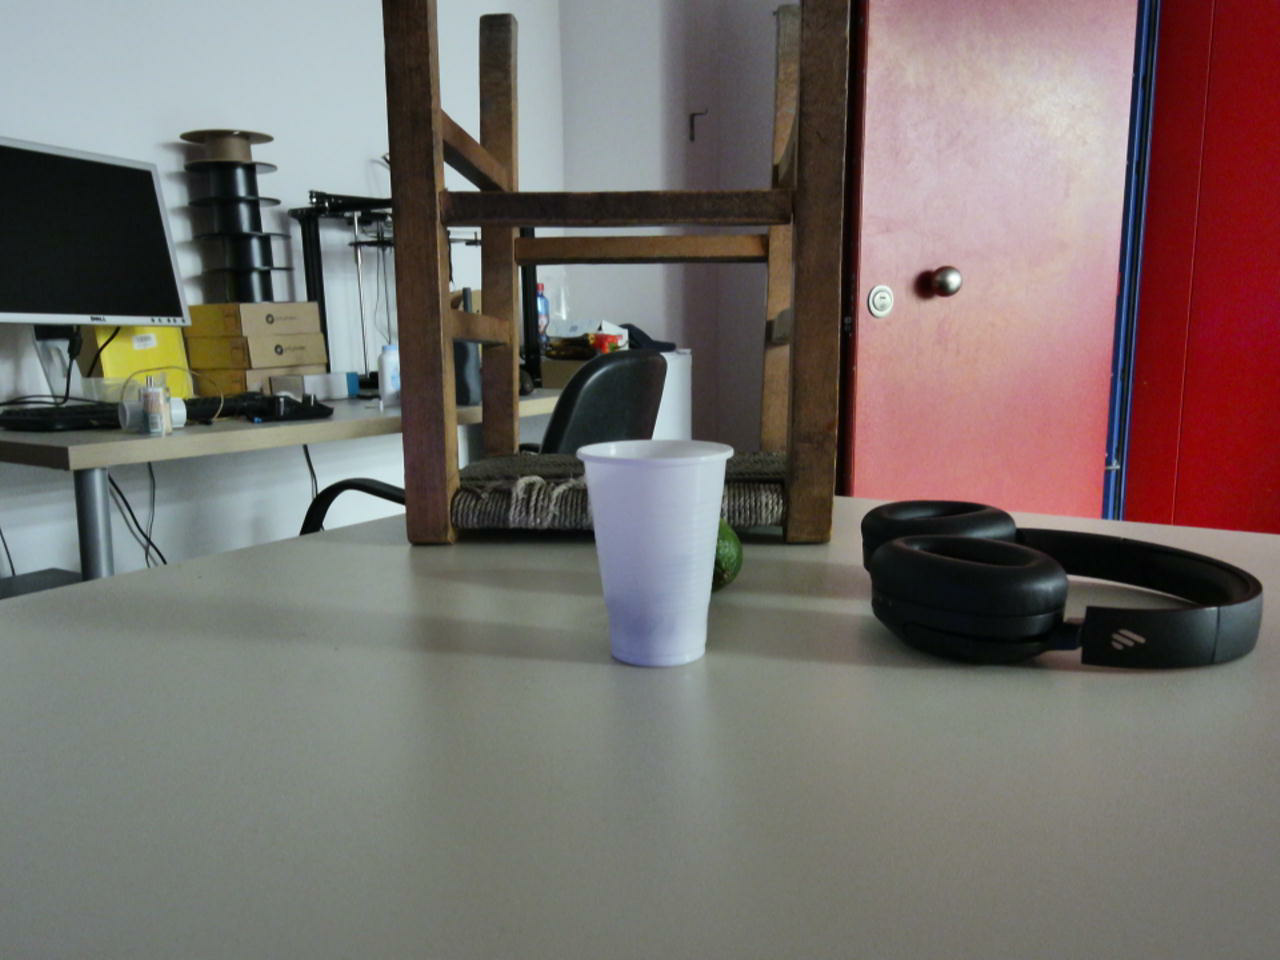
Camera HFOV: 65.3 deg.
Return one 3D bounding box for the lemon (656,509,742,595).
[{"bbox_3d":[0.037,0.044,0.623,0.057,0.051,0.054,4,8,31],"label":"lemon"}]
